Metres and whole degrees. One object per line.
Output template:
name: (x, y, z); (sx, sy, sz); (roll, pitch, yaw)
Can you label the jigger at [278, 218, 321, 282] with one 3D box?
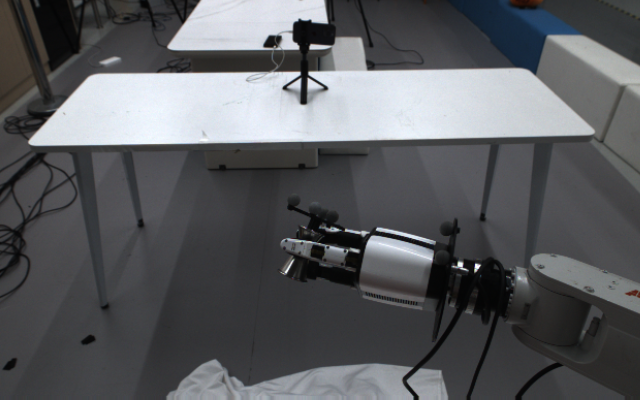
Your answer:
jigger: (-0.026, 0.069, 0.646); (0.043, 0.071, 0.043); (24, -3, 1)
